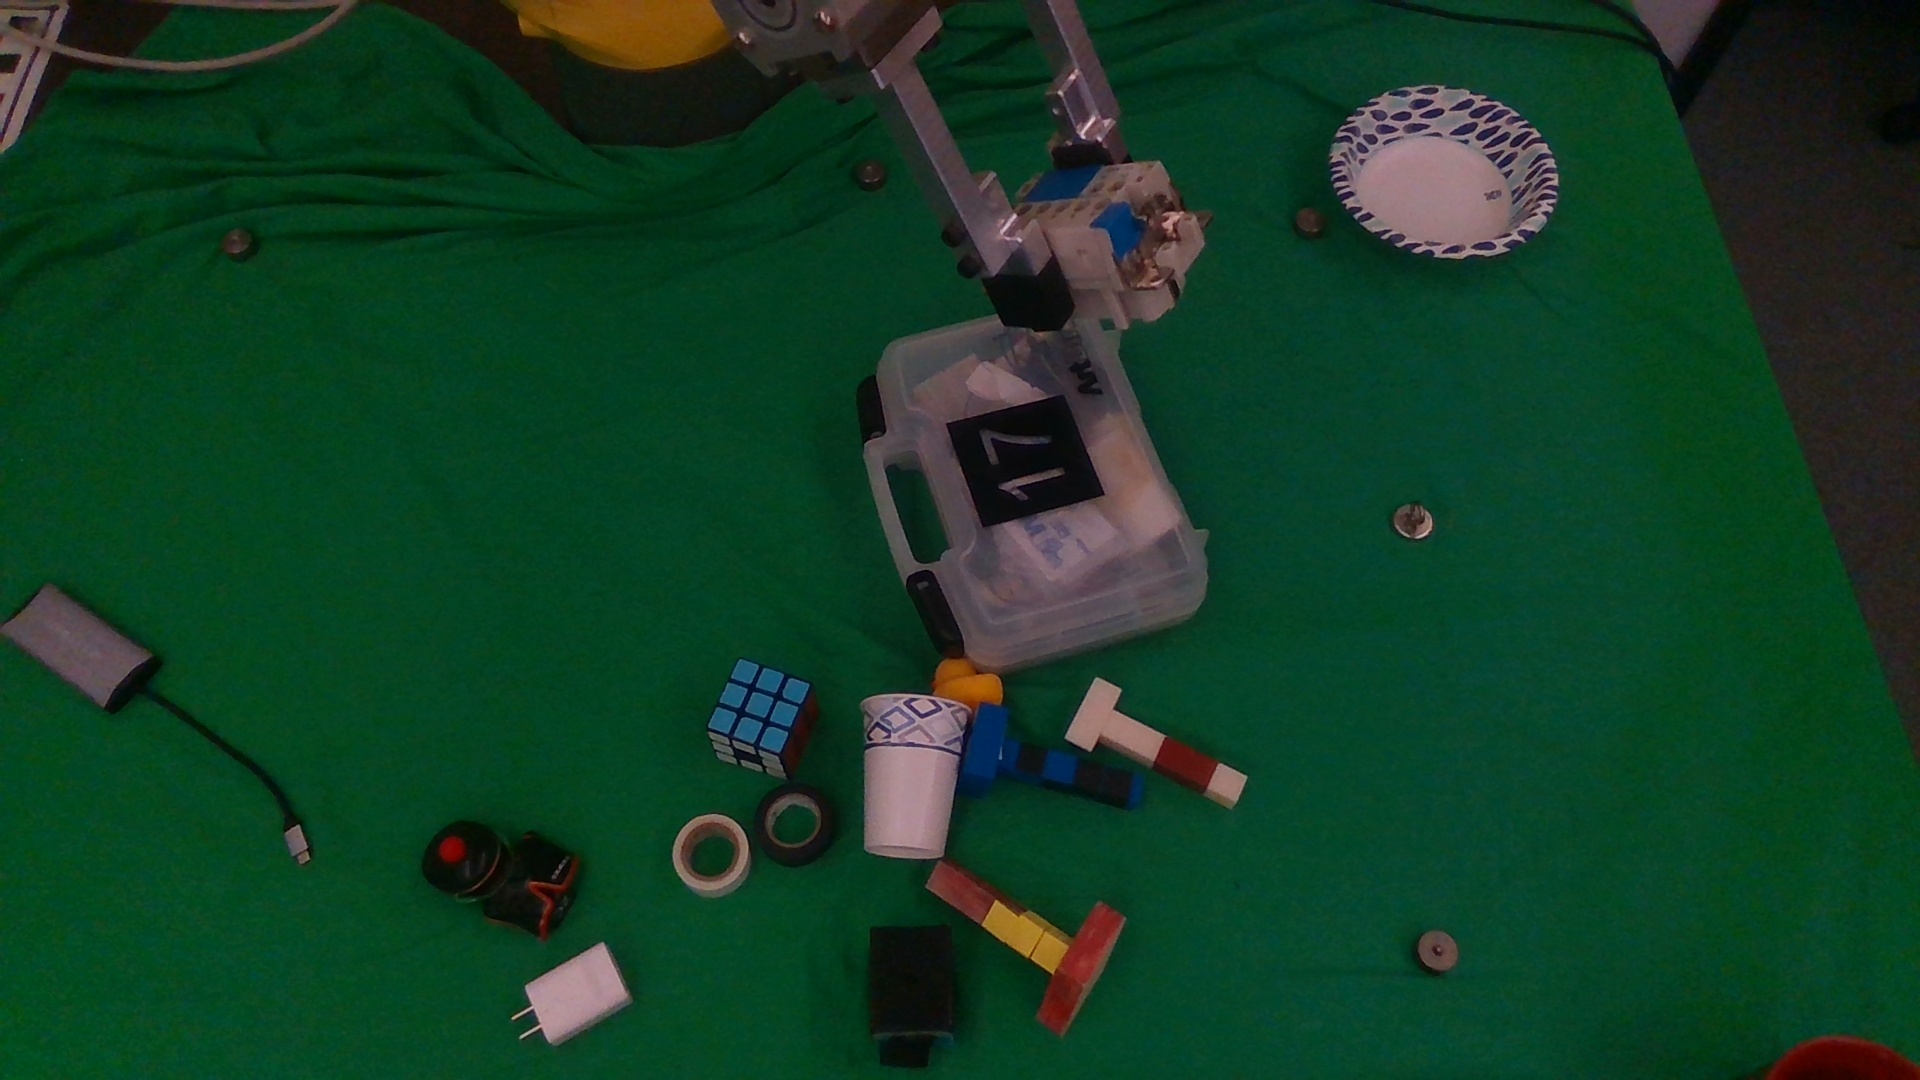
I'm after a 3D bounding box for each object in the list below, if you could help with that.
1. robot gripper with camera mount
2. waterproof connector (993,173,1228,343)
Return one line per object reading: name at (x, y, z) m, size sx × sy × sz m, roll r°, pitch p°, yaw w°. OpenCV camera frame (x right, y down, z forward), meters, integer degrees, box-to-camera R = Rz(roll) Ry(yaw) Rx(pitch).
robot gripper with camera mount at (0.066, -0.130, 0.307) m, size 0.194 × 0.158 × 0.119 m, roll 0°, pitch 50°, yaw 40°
waterproof connector at (0.040, -0.077, 0.385) m, size 0.065 × 0.037 × 0.035 m, roll 12°, pitch 57°, yaw 45°
